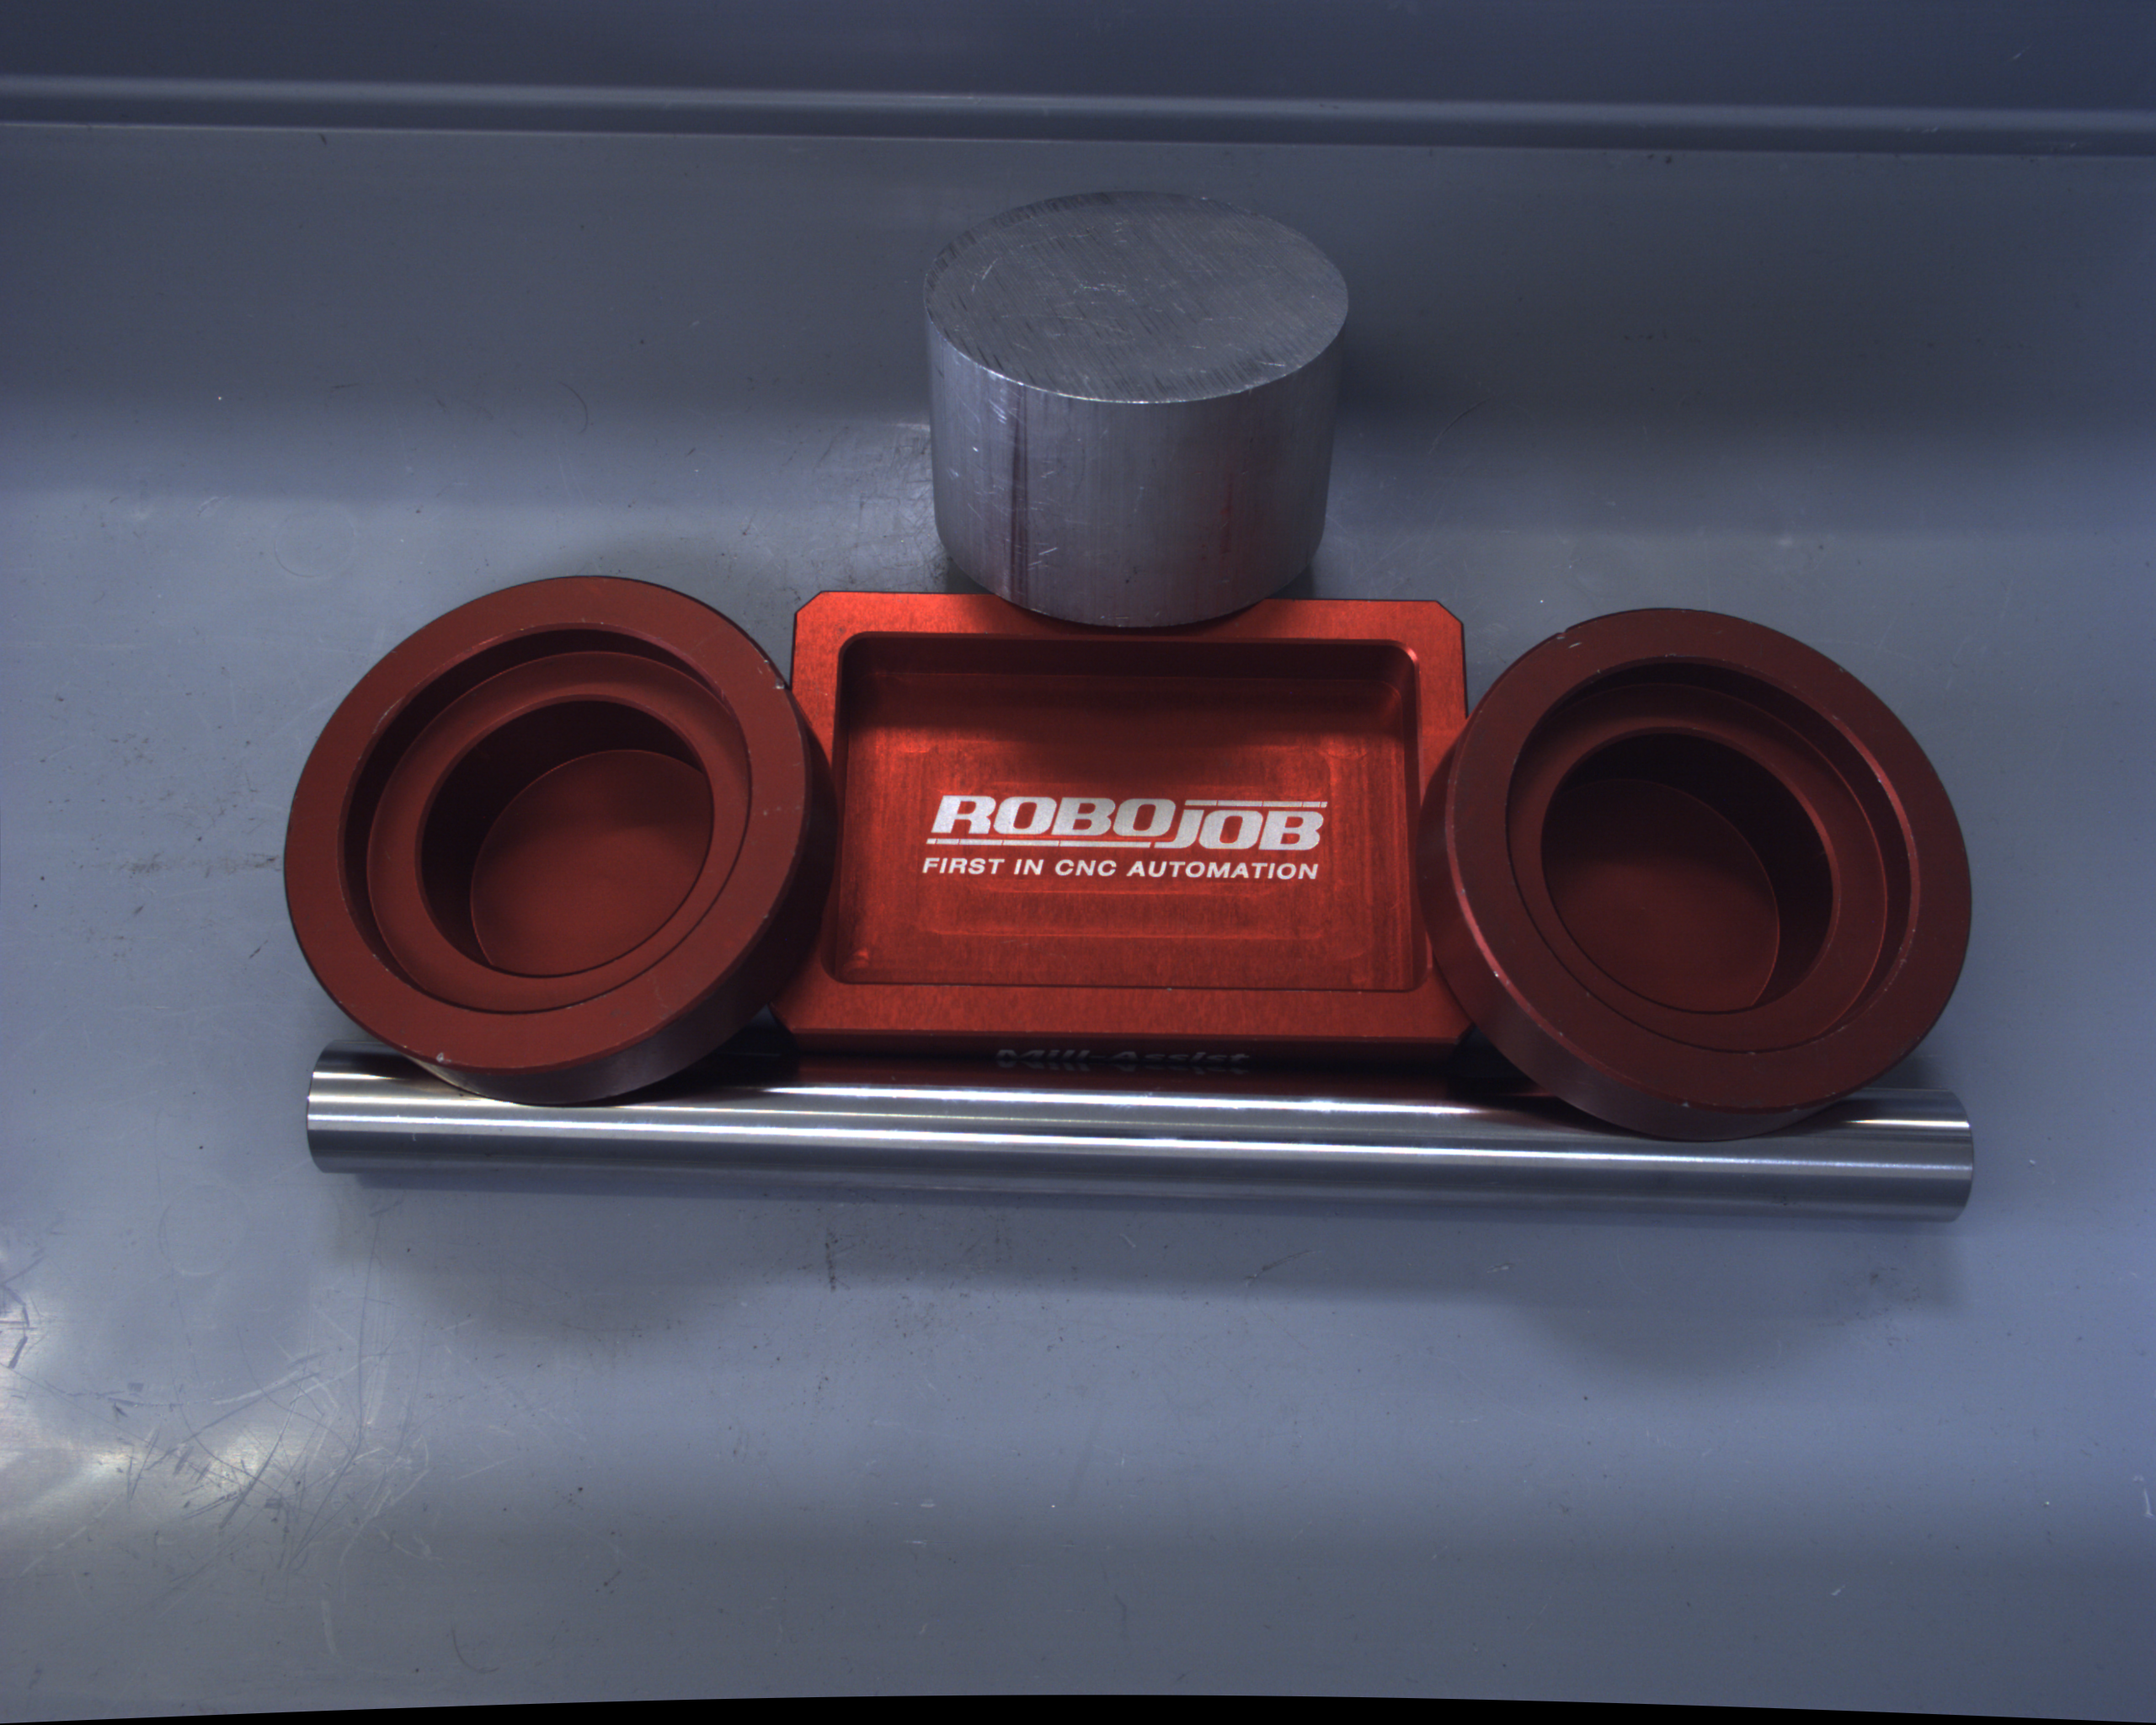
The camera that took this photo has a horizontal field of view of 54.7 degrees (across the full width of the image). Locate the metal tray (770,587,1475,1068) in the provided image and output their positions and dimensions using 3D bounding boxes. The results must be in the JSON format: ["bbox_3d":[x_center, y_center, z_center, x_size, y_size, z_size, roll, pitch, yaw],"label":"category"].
[{"bbox_3d":[0.009,-0.006,0.407,0.131,0.030,0.090,1,71,0],"label":"metal tray"}]

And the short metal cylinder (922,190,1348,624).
[{"bbox_3d":[0.011,-0.091,0.412,0.081,0.050,0.080,0,44,0],"label":"short metal cylinder"}]

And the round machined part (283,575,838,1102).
[{"bbox_3d":[-0.093,-0.002,0.393,0.099,0.042,0.098,-3,67,7],"label":"round machined part"}]

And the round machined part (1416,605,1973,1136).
[{"bbox_3d":[0.111,0.004,0.393,0.099,0.042,0.098,3,68,-7],"label":"round machined part"}]

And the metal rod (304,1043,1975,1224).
[{"bbox_3d":[0.011,0.050,0.389,0.302,0.025,0.025,2,70,0],"label":"metal rod"}]
